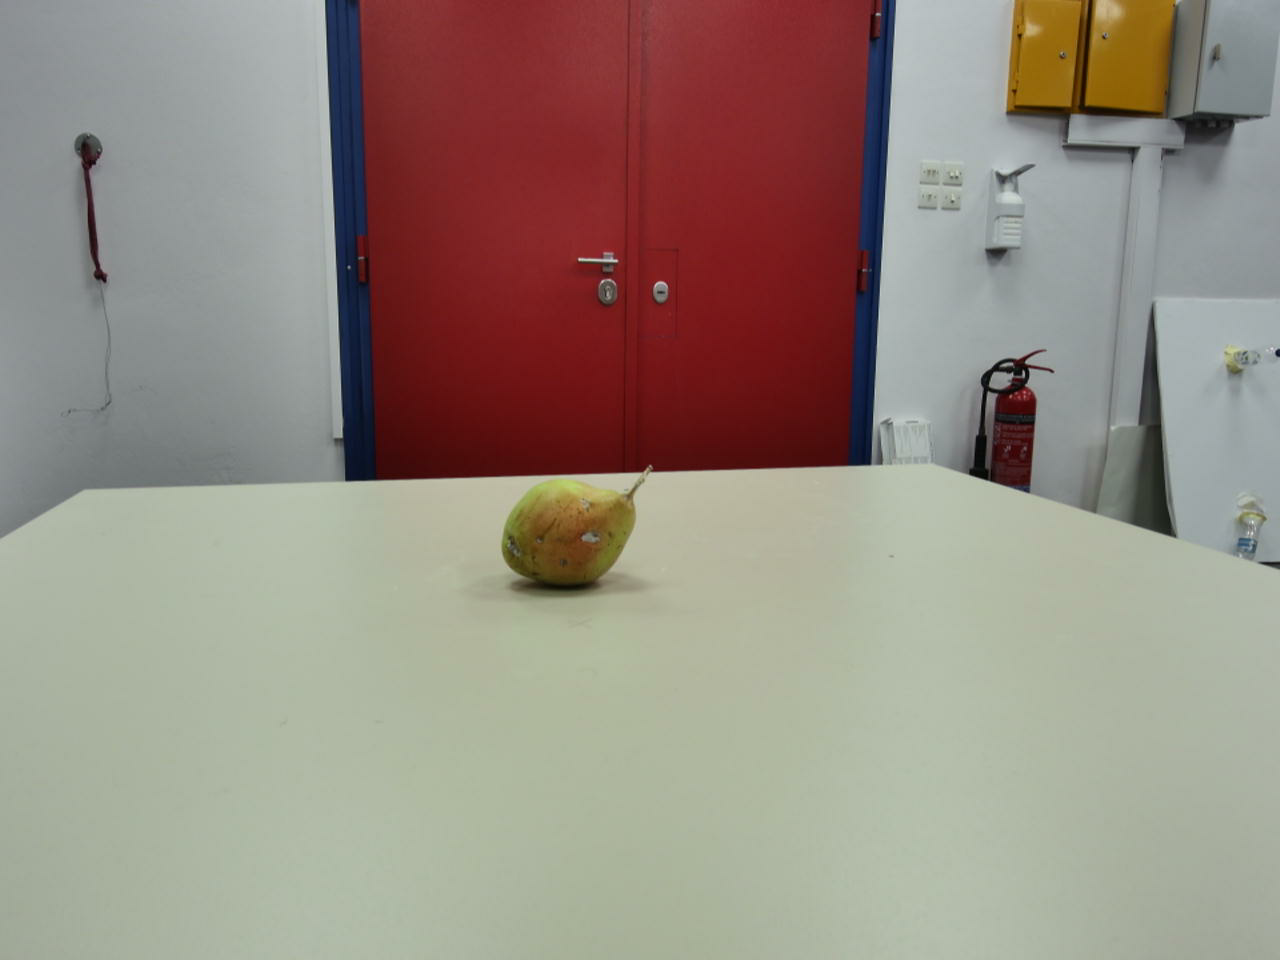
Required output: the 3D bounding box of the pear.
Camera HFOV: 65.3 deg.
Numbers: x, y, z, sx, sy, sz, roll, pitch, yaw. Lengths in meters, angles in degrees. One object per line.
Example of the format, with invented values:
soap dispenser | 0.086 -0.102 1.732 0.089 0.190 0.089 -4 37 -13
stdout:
pear | -0.040 0.027 0.581 0.070 0.069 0.068 6 10 38
